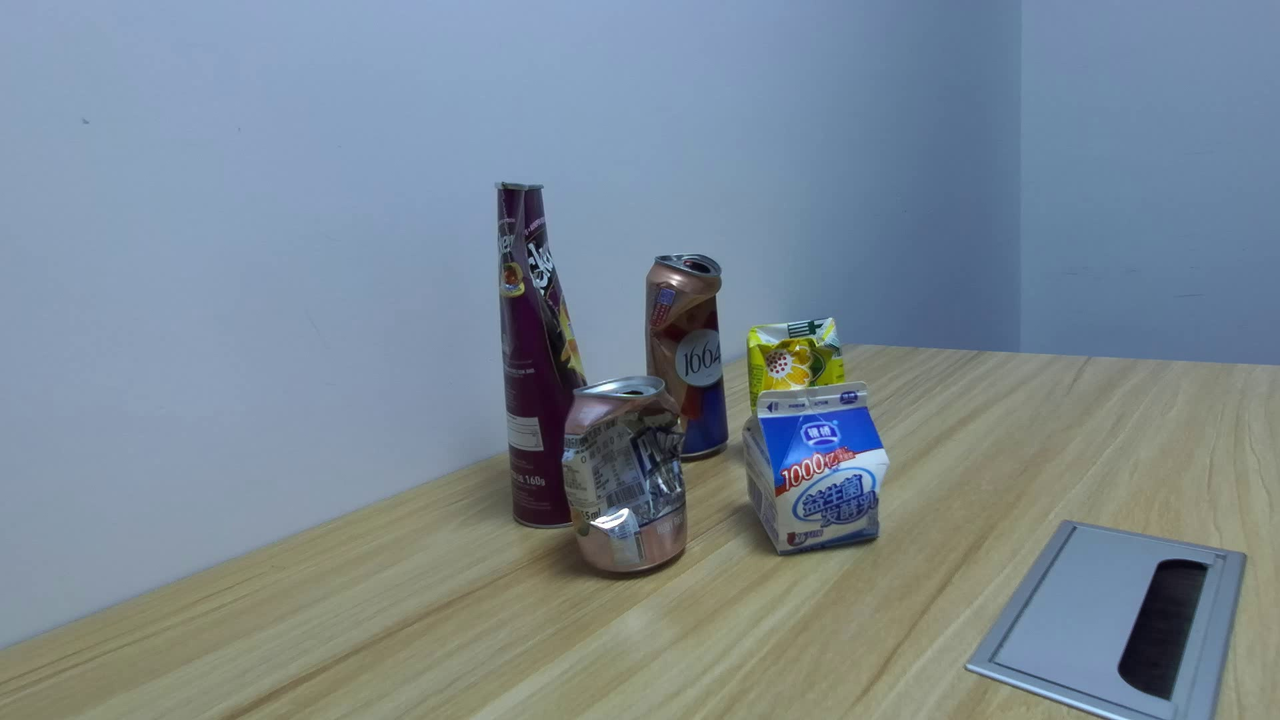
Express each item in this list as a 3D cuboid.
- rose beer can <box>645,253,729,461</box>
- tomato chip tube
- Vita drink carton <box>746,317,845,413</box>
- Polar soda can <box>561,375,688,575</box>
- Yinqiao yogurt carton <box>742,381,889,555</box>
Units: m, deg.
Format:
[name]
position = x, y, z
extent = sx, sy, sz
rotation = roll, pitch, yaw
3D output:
[rose beer can]
position = 0.038, -0.002, 0.588
extent = 0.070, 0.168, 0.069
rotation = -5, 16, -9
[tomato chip tube]
position = -0.068, -0.004, 0.499
extent = 0.077, 0.235, 0.090
rotation = 6, 16, 44
[Vita drink carton]
position = 0.119, 0.028, 0.534
extent = 0.071, 0.109, 0.046
rotation = -4, 10, 16
[Polar soda can]
position = -0.007, 0.067, 0.426
extent = 0.070, 0.114, 0.074
rotation = -1, 16, 2
[Yinqiao yogurt carton]
position = 0.108, 0.059, 0.430
extent = 0.074, 0.097, 0.080
rotation = -8, 20, -5
